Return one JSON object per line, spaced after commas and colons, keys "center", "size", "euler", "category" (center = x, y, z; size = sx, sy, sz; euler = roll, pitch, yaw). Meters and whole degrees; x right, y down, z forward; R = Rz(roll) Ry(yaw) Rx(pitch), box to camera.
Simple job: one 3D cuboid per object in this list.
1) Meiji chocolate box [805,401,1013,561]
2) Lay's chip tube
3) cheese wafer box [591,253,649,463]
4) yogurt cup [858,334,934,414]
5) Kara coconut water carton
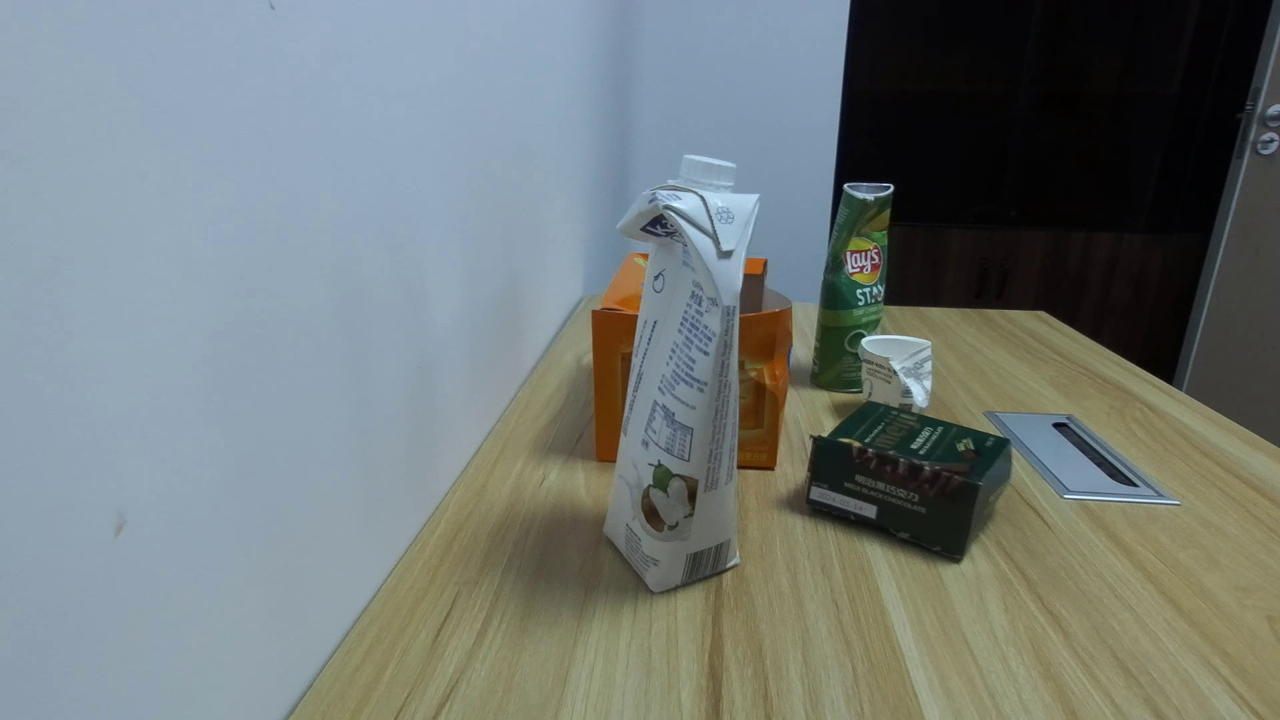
{"center": [0.190, 0.079, 0.498], "size": [0.122, 0.058, 0.116], "euler": [15, 20, 33], "category": "Meiji chocolate box"}
{"center": [0.213, -0.072, 0.704], "size": [0.069, 0.201, 0.077], "euler": [4, 21, 8], "category": "Lay's chip tube"}
{"center": [0.048, -0.008, 0.630], "size": [0.152, 0.132, 0.230], "euler": [5, 18, 4], "category": "cheese wafer box"}
{"center": [0.229, 0.020, 0.637], "size": [0.067, 0.070, 0.067], "euler": [-1, 19, 1], "category": "yogurt cup"}
{"center": [0.024, 0.008, 0.403], "size": [0.069, 0.238, 0.114], "euler": [-8, 21, -26], "category": "Kara coconut water carton"}
